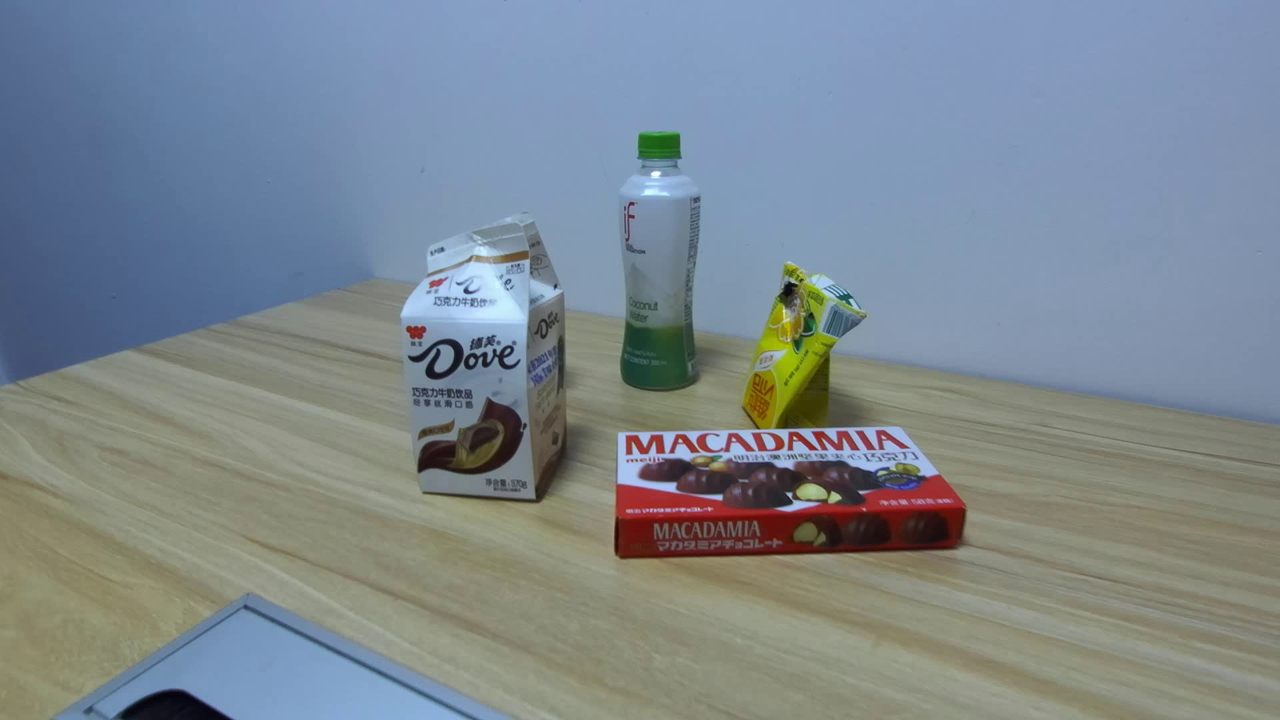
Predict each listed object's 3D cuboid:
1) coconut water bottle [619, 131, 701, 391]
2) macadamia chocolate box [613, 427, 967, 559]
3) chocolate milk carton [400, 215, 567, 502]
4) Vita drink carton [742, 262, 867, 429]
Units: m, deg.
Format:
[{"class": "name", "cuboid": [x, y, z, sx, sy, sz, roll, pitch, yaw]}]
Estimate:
[{"class": "coconut water bottle", "cuboid": [0.015, -0.074, 0.539, 0.063, 0.188, 0.063, 0, 19, 0]}, {"class": "macadamia chocolate box", "cuboid": [0.075, 0.070, 0.395, 0.178, 0.027, 0.095, -1, 21, -1]}, {"class": "chocolate milk carton", "cuboid": [-0.088, -0.006, 0.415, 0.076, 0.155, 0.073, 3, 21, 8]}, {"class": "Vita drink carton", "cuboid": [0.110, -0.003, 0.477, 0.042, 0.108, 0.087, 9, 21, -16]}]
